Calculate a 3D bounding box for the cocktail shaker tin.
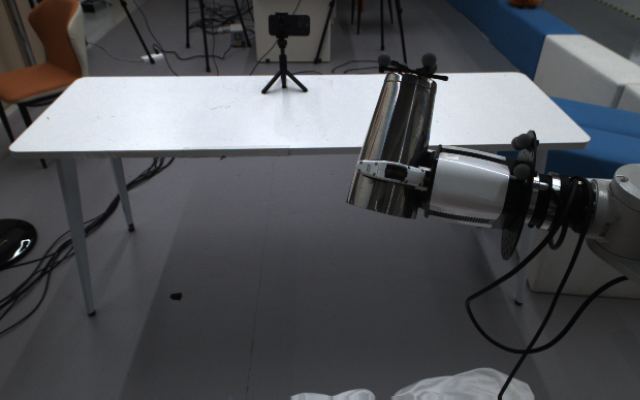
[{"bbox_3d":[0.097,-0.069,0.618,0.093,0.170,0.093,13,4,-1],"label":"cocktail shaker tin"}]
